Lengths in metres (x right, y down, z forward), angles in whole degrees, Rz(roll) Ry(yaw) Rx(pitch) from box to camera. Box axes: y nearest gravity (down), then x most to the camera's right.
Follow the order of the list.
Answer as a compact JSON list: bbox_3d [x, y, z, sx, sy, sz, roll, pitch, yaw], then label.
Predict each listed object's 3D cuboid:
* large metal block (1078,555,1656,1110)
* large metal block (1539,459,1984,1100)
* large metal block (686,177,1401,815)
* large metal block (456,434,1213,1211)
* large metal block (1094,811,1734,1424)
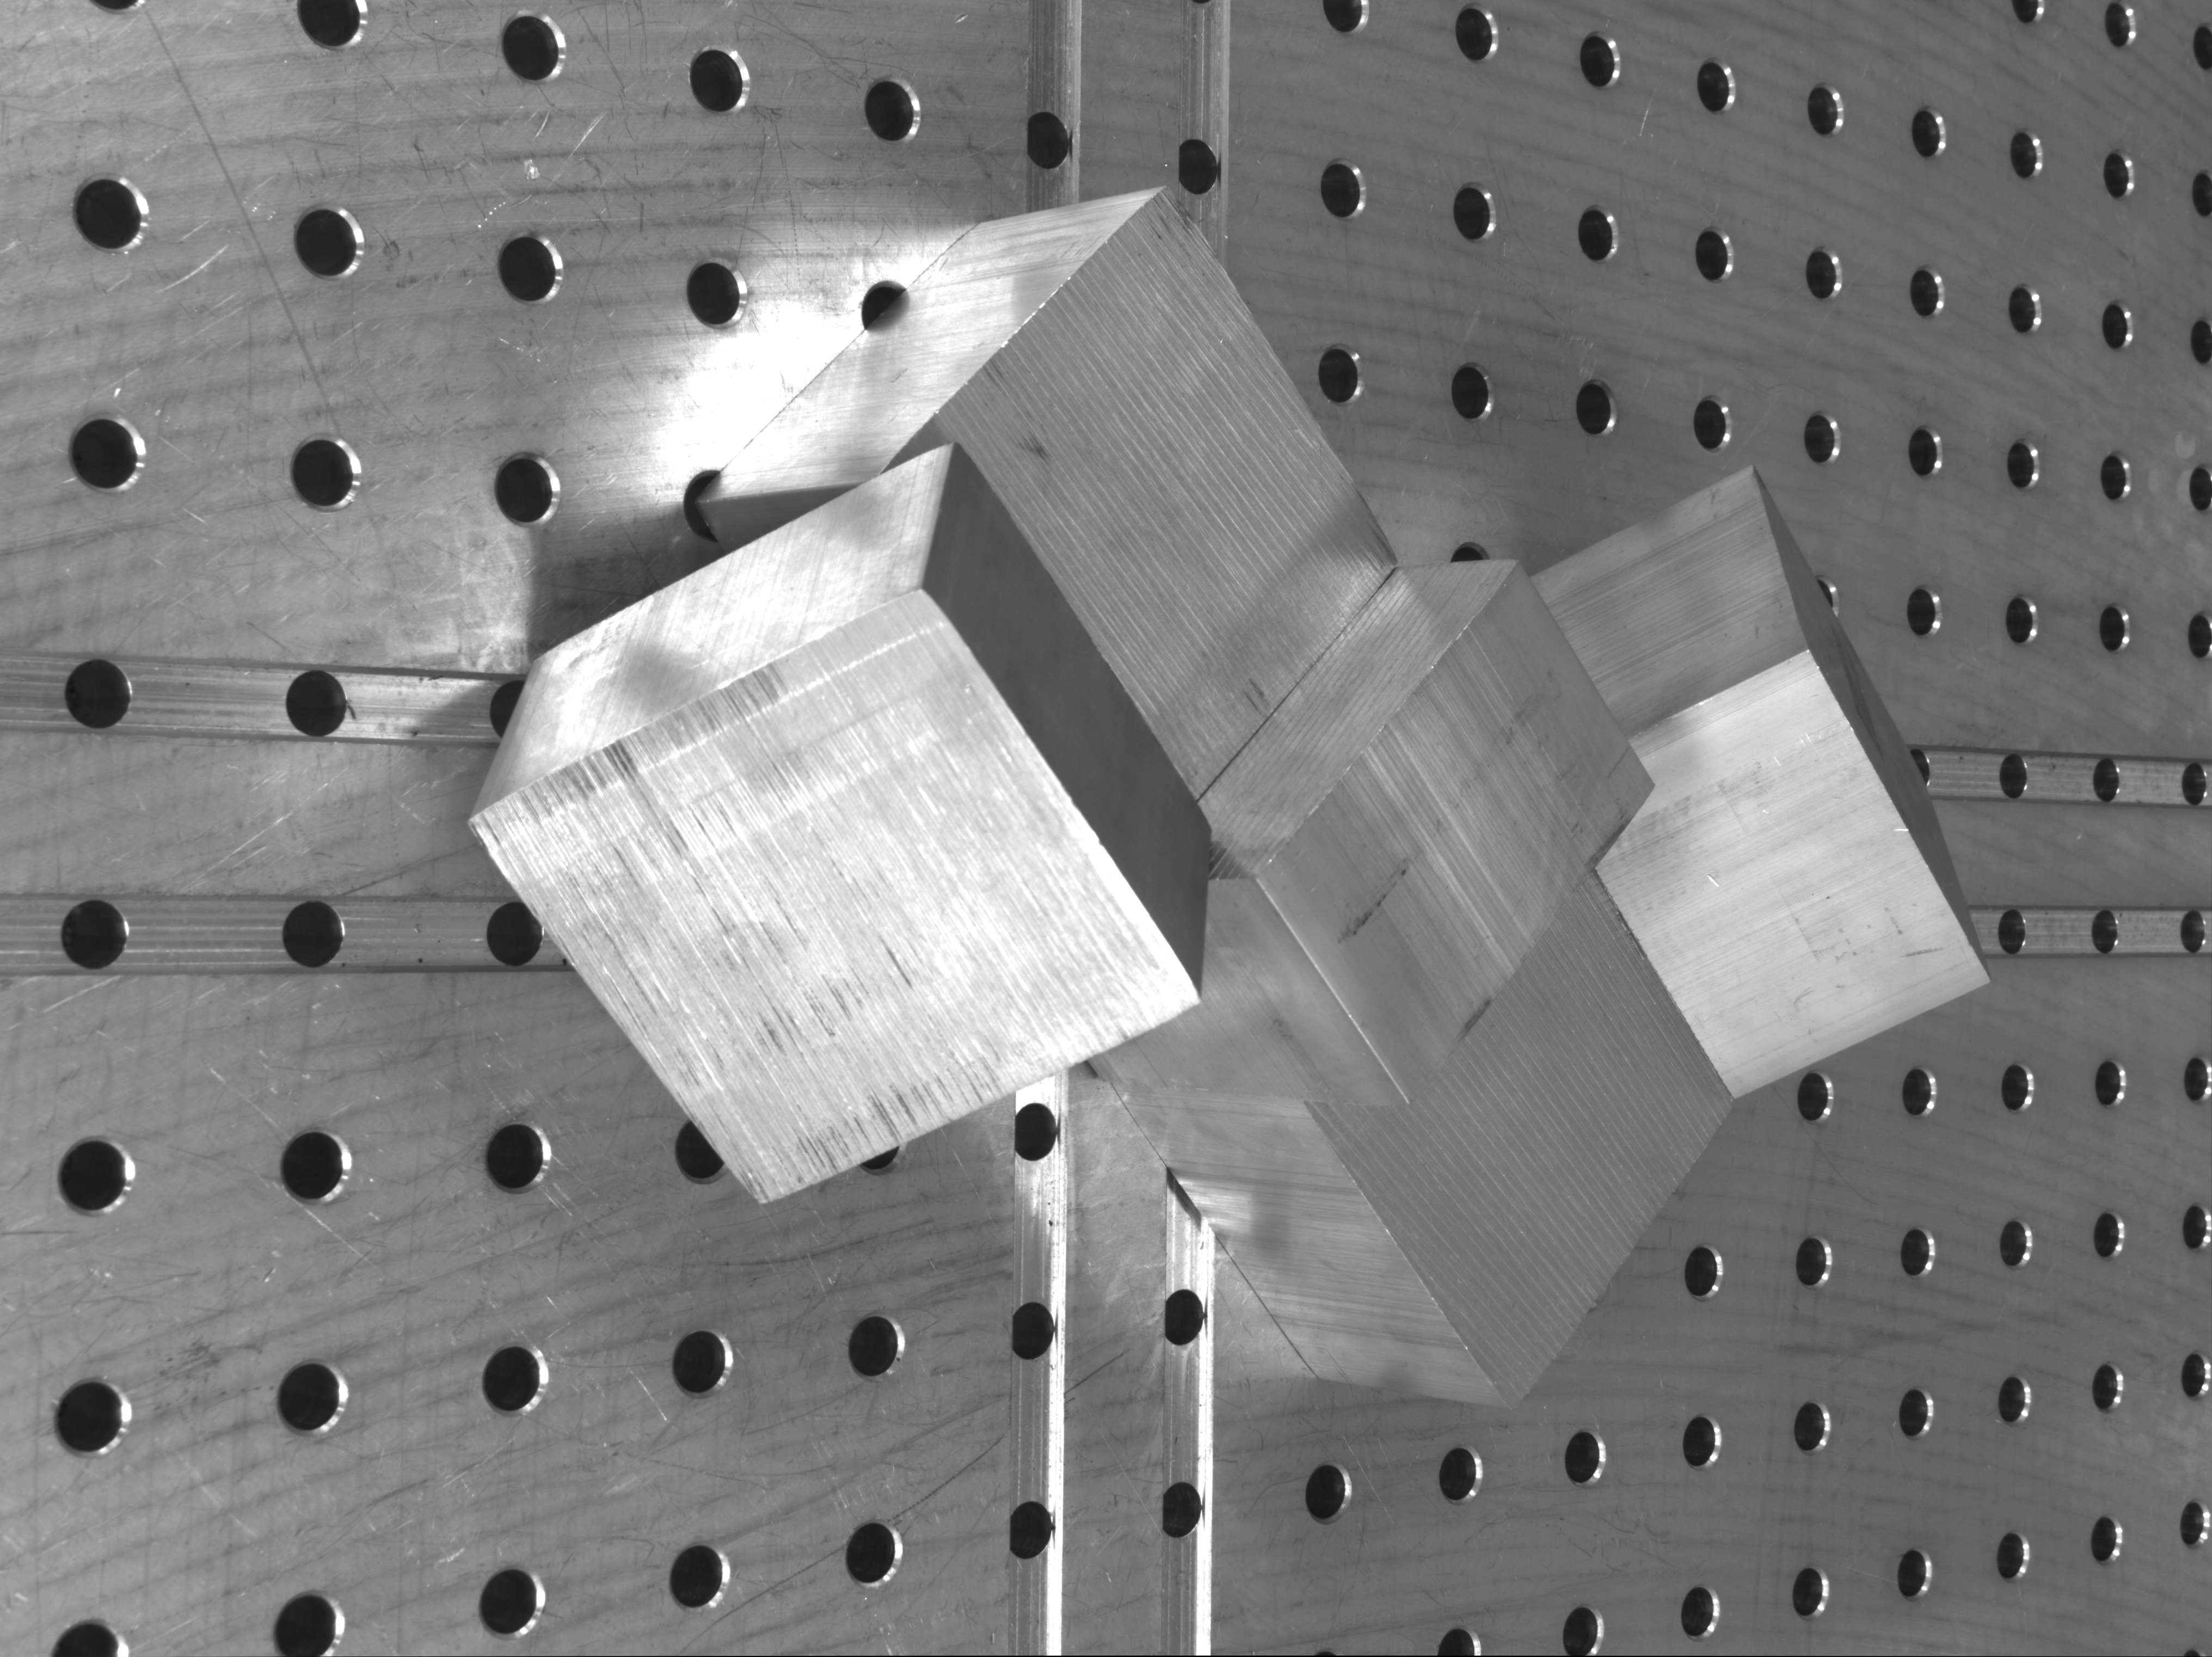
[{"bbox_3d":[0.033,0.000,0.631,0.080,0.080,0.050,-50,120,-28],"label":"large metal block"},{"bbox_3d":[0.120,-0.010,0.696,0.080,0.050,0.080,56,18,-25],"label":"large metal block"},{"bbox_3d":[-0.009,-0.050,0.615,0.080,0.050,0.080,-48,119,-27],"label":"large metal block"},{"bbox_3d":[-0.039,0.000,0.562,0.080,0.080,0.050,56,19,-25],"label":"large metal block"},{"bbox_3d":[0.058,0.049,0.670,0.080,0.050,0.080,-48,117,-29],"label":"large metal block"}]
